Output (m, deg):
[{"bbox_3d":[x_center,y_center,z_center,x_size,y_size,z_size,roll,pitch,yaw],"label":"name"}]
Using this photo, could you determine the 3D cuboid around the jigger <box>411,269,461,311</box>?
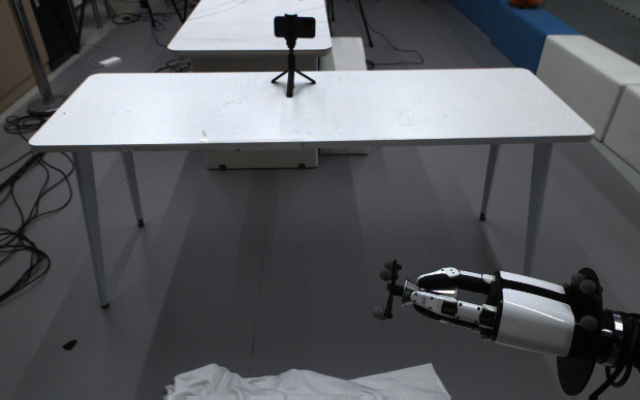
[{"bbox_3d":[0.154,0.127,0.652,0.071,0.043,0.043,8,35,16],"label":"jigger"}]
